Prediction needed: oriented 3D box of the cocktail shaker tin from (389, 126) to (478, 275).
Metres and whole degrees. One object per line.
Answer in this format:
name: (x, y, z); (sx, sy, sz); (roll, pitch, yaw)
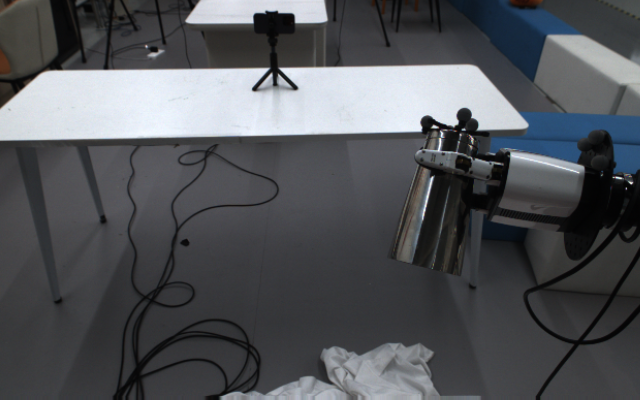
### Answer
cocktail shaker tin: (0.152, -0.001, 0.616); (0.093, 0.170, 0.093); (14, -5, 1)
